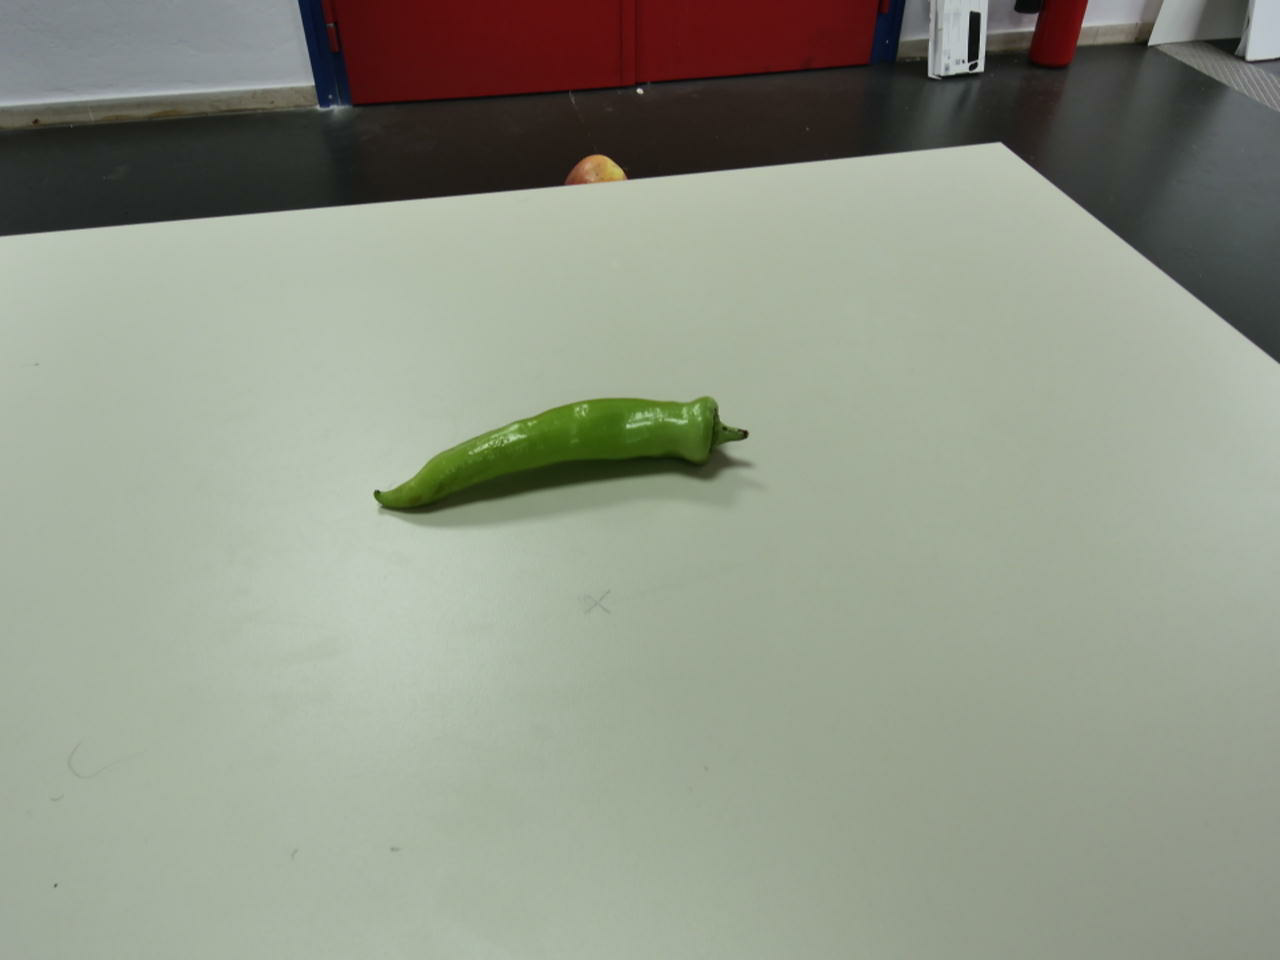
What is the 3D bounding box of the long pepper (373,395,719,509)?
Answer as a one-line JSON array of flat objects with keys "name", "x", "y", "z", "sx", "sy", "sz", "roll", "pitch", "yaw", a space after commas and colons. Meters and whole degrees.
[{"name": "long pepper", "x": -0.045, "y": -0.020, "z": 0.538, "sx": 0.197, "sy": 0.038, "sz": 0.046, "roll": -7, "pitch": 40, "yaw": -9}]
